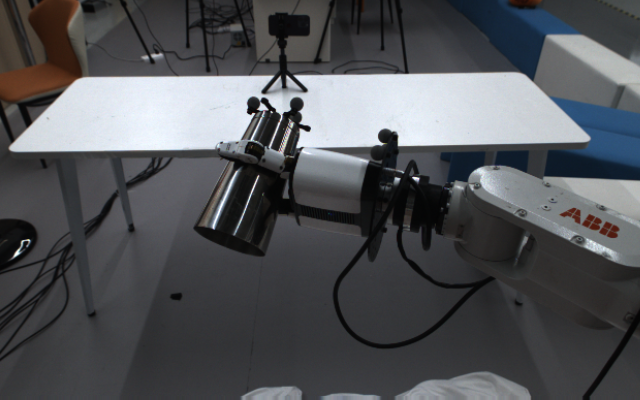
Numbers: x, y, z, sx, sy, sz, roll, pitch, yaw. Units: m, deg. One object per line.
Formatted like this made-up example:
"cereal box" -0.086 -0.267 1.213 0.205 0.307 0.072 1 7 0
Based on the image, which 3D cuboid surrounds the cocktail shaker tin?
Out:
"cocktail shaker tin" -0.083 -0.024 0.613 0.093 0.093 0.170 13 70 16
